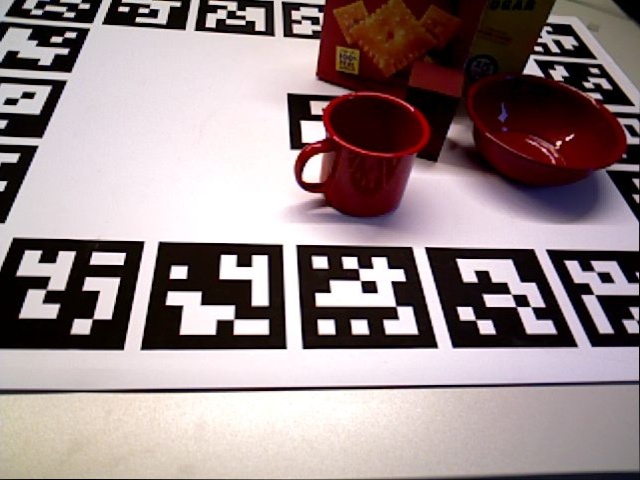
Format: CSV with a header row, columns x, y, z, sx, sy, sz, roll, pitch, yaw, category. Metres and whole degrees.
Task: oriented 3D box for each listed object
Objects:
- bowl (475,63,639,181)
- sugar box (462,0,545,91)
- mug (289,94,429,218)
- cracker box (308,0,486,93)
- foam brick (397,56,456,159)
x,y,z,sx,sy,sz,roll,pitch,yaw,category
0.224,-0.109,0.537,0.160,0.056,0.159,4,49,-5,bowl
0.190,-0.251,0.591,0.093,0.181,0.044,17,47,7,sugar box
0.029,-0.072,0.466,0.116,0.083,0.092,-7,41,-12,mug
0.085,-0.255,0.555,0.164,0.219,0.070,24,46,11,cracker box
0.100,-0.132,0.545,0.052,0.080,0.050,12,46,3,foam brick
